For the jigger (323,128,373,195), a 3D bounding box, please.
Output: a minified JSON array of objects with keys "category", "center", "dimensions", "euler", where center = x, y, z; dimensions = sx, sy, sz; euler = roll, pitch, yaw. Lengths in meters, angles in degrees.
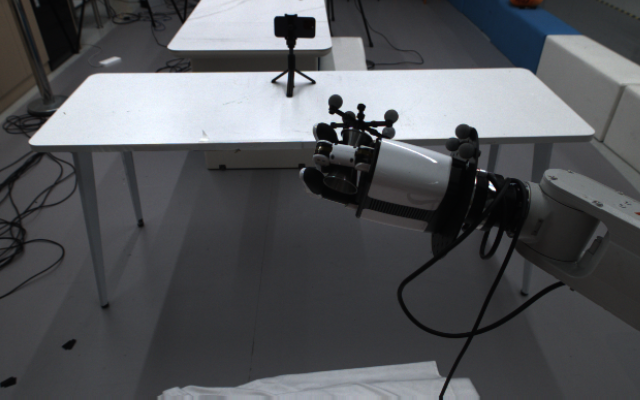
[{"category":"jigger","center":[0.037,-0.047,0.582],"dimensions":[0.043,0.043,0.071],"euler":[12,71,14]}]
